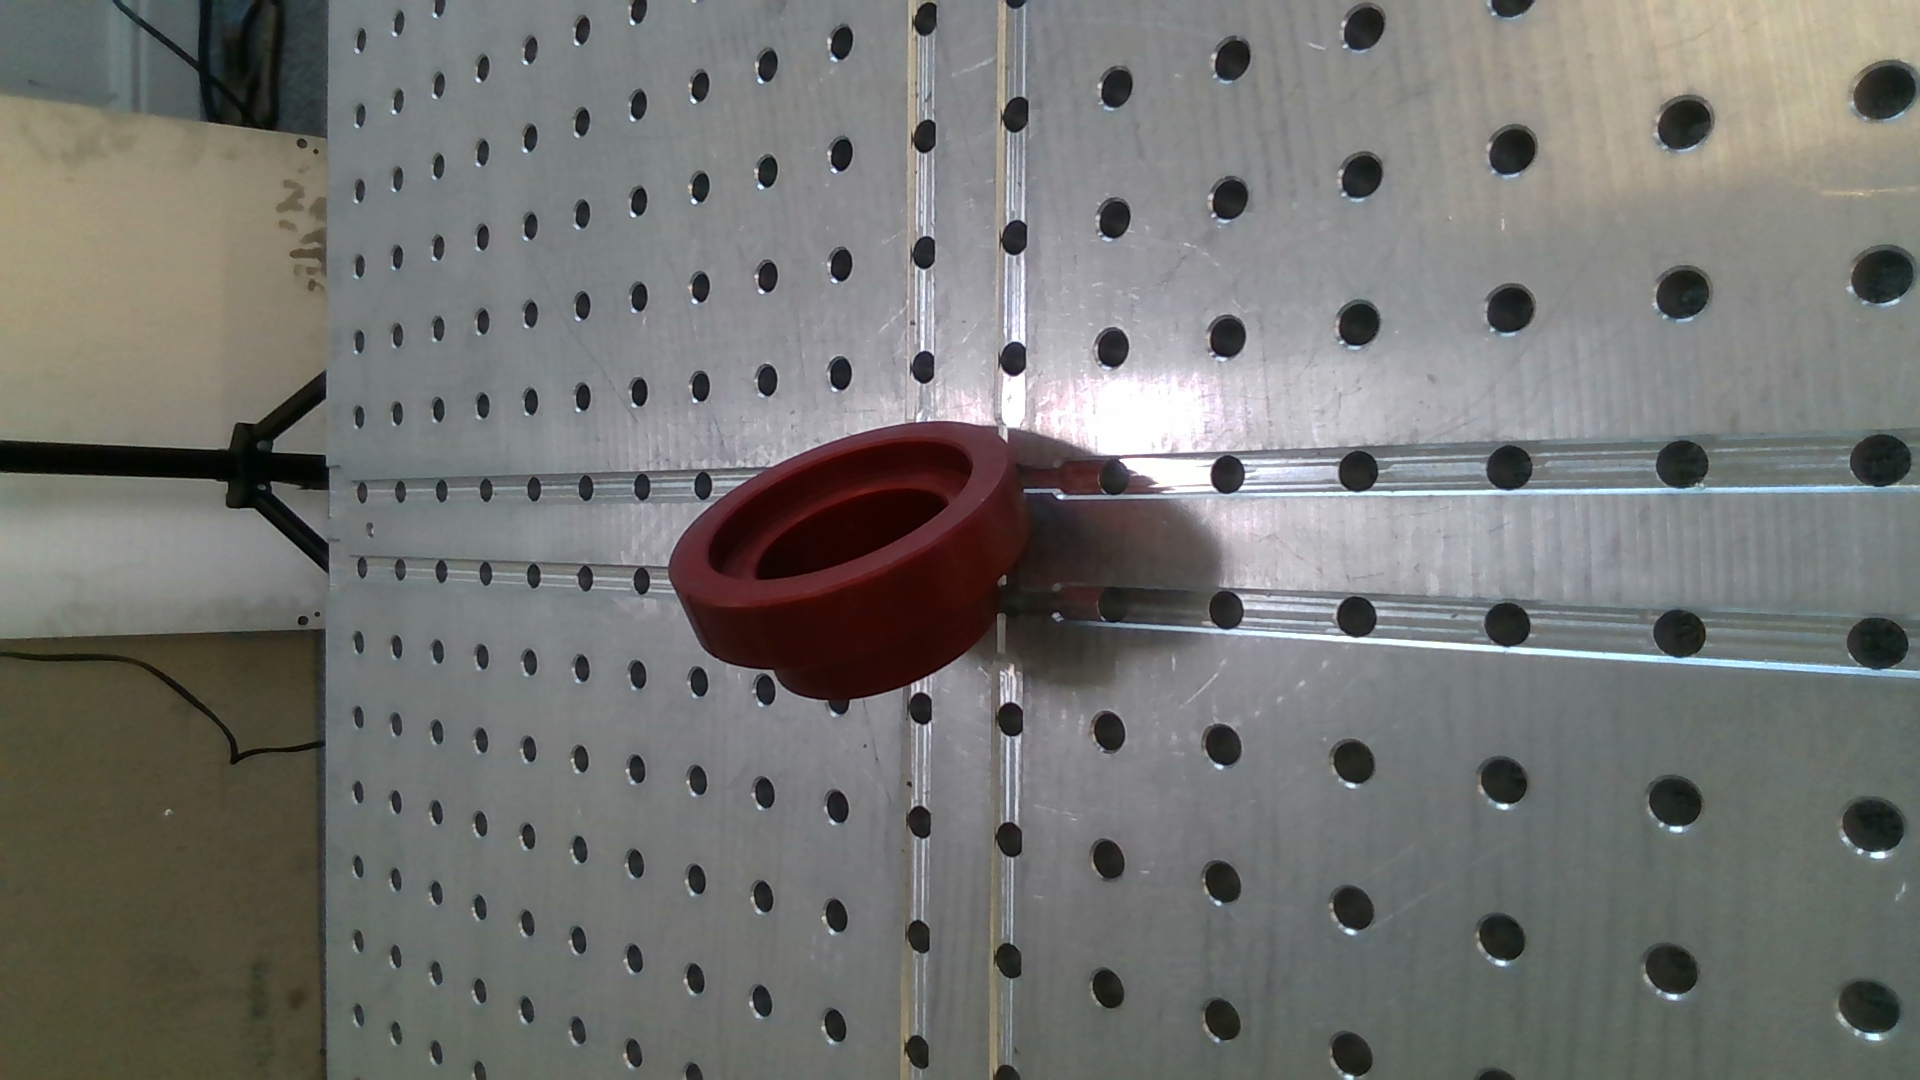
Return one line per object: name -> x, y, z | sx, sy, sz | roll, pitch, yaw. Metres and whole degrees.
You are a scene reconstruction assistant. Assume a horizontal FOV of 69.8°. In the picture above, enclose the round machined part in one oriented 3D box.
round machined part -> -0.027, 0.008, 0.381 | 0.098, 0.098, 0.042 | 4, 124, 40
